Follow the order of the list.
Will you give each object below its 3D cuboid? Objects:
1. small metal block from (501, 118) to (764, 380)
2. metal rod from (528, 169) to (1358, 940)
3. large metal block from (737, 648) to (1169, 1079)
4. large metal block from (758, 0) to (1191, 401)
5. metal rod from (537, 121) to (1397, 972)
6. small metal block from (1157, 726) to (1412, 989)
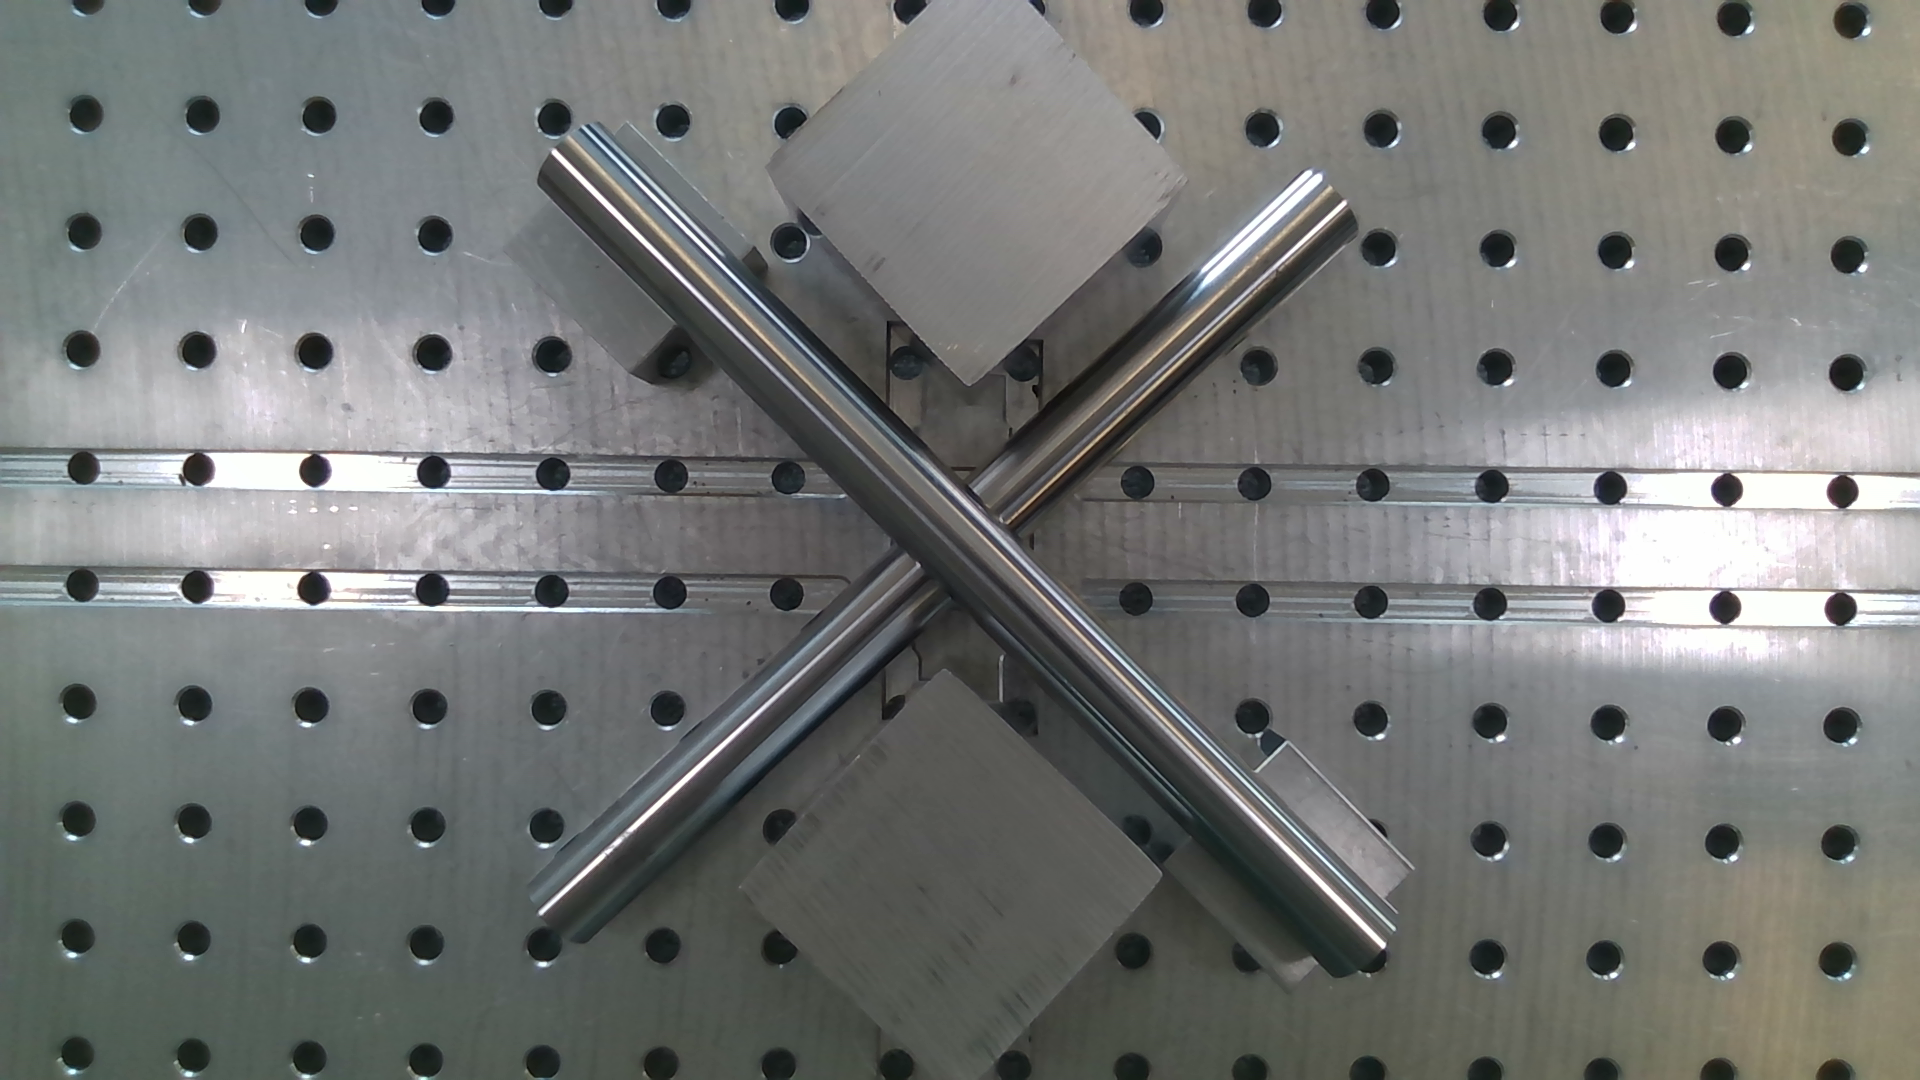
[{"bbox_3d":[-0.093,-0.083,0.397,0.050,0.025,0.050,44,90,0],"label":"small metal block"},{"bbox_3d":[-0.005,0.004,0.397,0.300,0.025,0.025,-43,90,0],"label":"metal rod"},{"bbox_3d":[-0.002,0.089,0.386,0.080,0.050,0.080,43,90,0],"label":"large metal block"},{"bbox_3d":[0.004,-0.097,0.385,0.080,0.050,0.080,-43,90,0],"label":"large metal block"},{"bbox_3d":[0.002,0.002,0.372,0.300,0.025,0.025,45,90,0],"label":"metal rod"},{"bbox_3d":[0.092,0.091,0.399,0.050,0.025,0.050,-44,90,0],"label":"small metal block"}]
